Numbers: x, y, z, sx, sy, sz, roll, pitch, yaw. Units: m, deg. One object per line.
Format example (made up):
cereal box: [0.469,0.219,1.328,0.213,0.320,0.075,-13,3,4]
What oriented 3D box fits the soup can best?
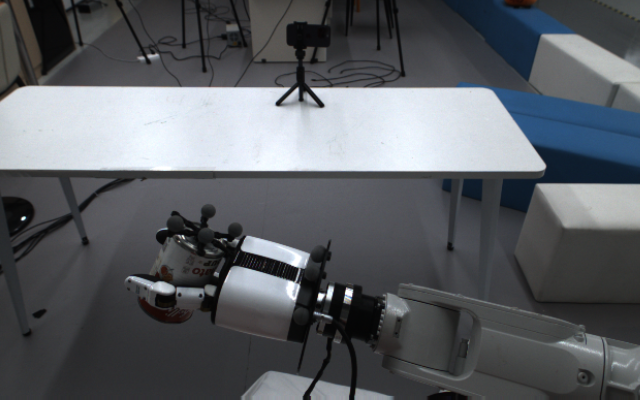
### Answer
soup can: [-0.159,0.085,0.562,0.067,0.101,0.067,28,18,-10]
